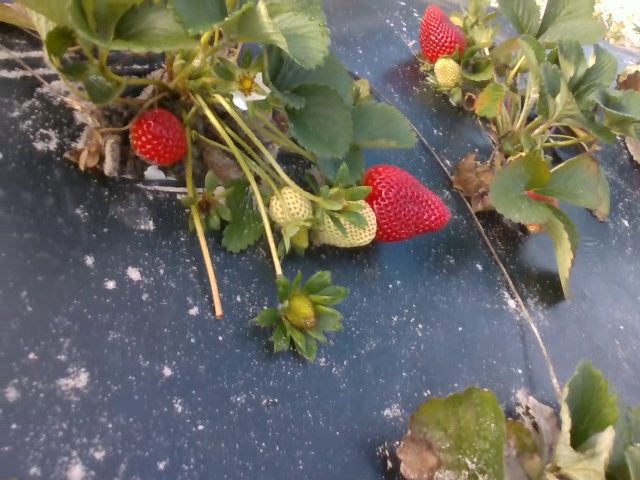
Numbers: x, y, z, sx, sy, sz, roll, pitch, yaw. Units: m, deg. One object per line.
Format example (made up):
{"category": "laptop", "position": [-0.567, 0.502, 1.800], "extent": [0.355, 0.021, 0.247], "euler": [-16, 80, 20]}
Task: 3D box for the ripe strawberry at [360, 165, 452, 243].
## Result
{"category": "ripe strawberry", "position": [0.054, -0.017, 0.386], "extent": [0.055, 0.051, 0.048], "euler": [20, -5, 14]}
